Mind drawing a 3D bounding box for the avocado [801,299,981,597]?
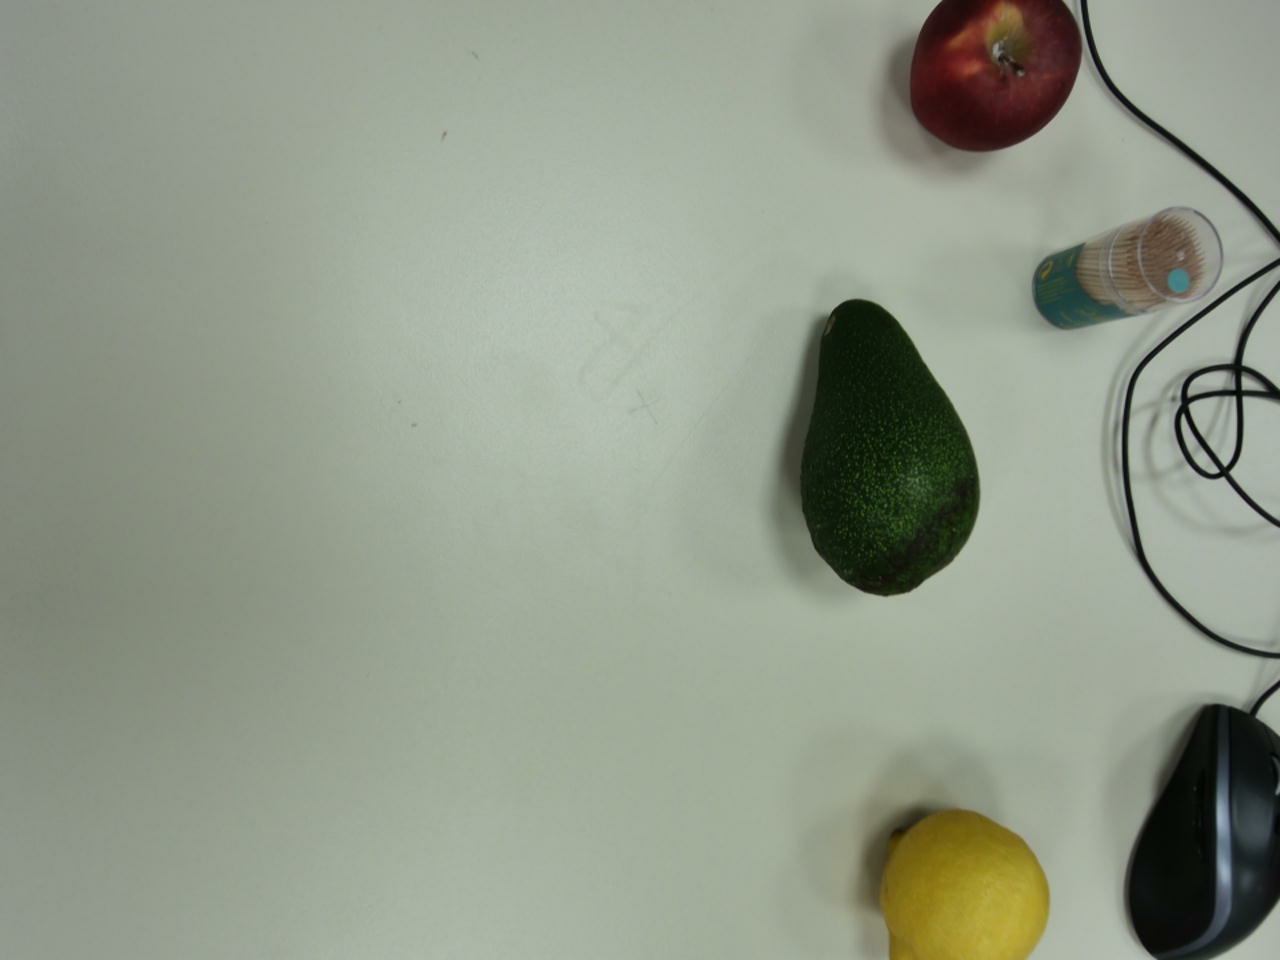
[{"bbox_3d":[0.108,-0.012,0.419,0.074,0.076,0.123,15,87,-11],"label":"avocado"}]
